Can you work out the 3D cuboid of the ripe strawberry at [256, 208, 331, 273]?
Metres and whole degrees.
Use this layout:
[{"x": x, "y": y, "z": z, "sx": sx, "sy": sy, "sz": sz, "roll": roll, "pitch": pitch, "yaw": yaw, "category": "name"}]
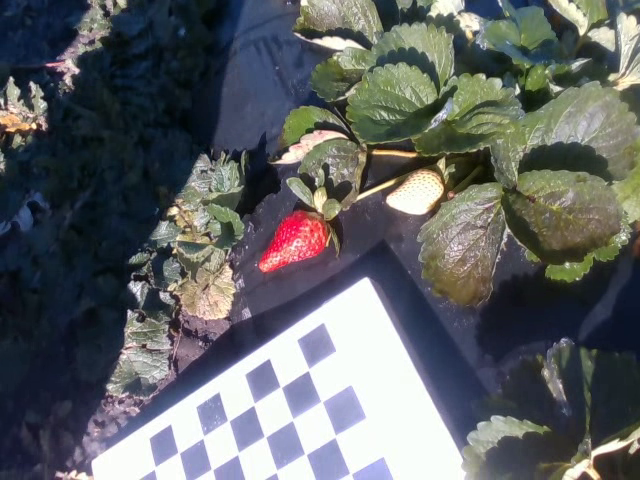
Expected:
[{"x": -0.022, "y": 0.003, "z": 0.445, "sx": 0.048, "sy": 0.069, "sz": 0.040, "roll": 43, "pitch": -1, "yaw": 38, "category": "ripe strawberry"}]
